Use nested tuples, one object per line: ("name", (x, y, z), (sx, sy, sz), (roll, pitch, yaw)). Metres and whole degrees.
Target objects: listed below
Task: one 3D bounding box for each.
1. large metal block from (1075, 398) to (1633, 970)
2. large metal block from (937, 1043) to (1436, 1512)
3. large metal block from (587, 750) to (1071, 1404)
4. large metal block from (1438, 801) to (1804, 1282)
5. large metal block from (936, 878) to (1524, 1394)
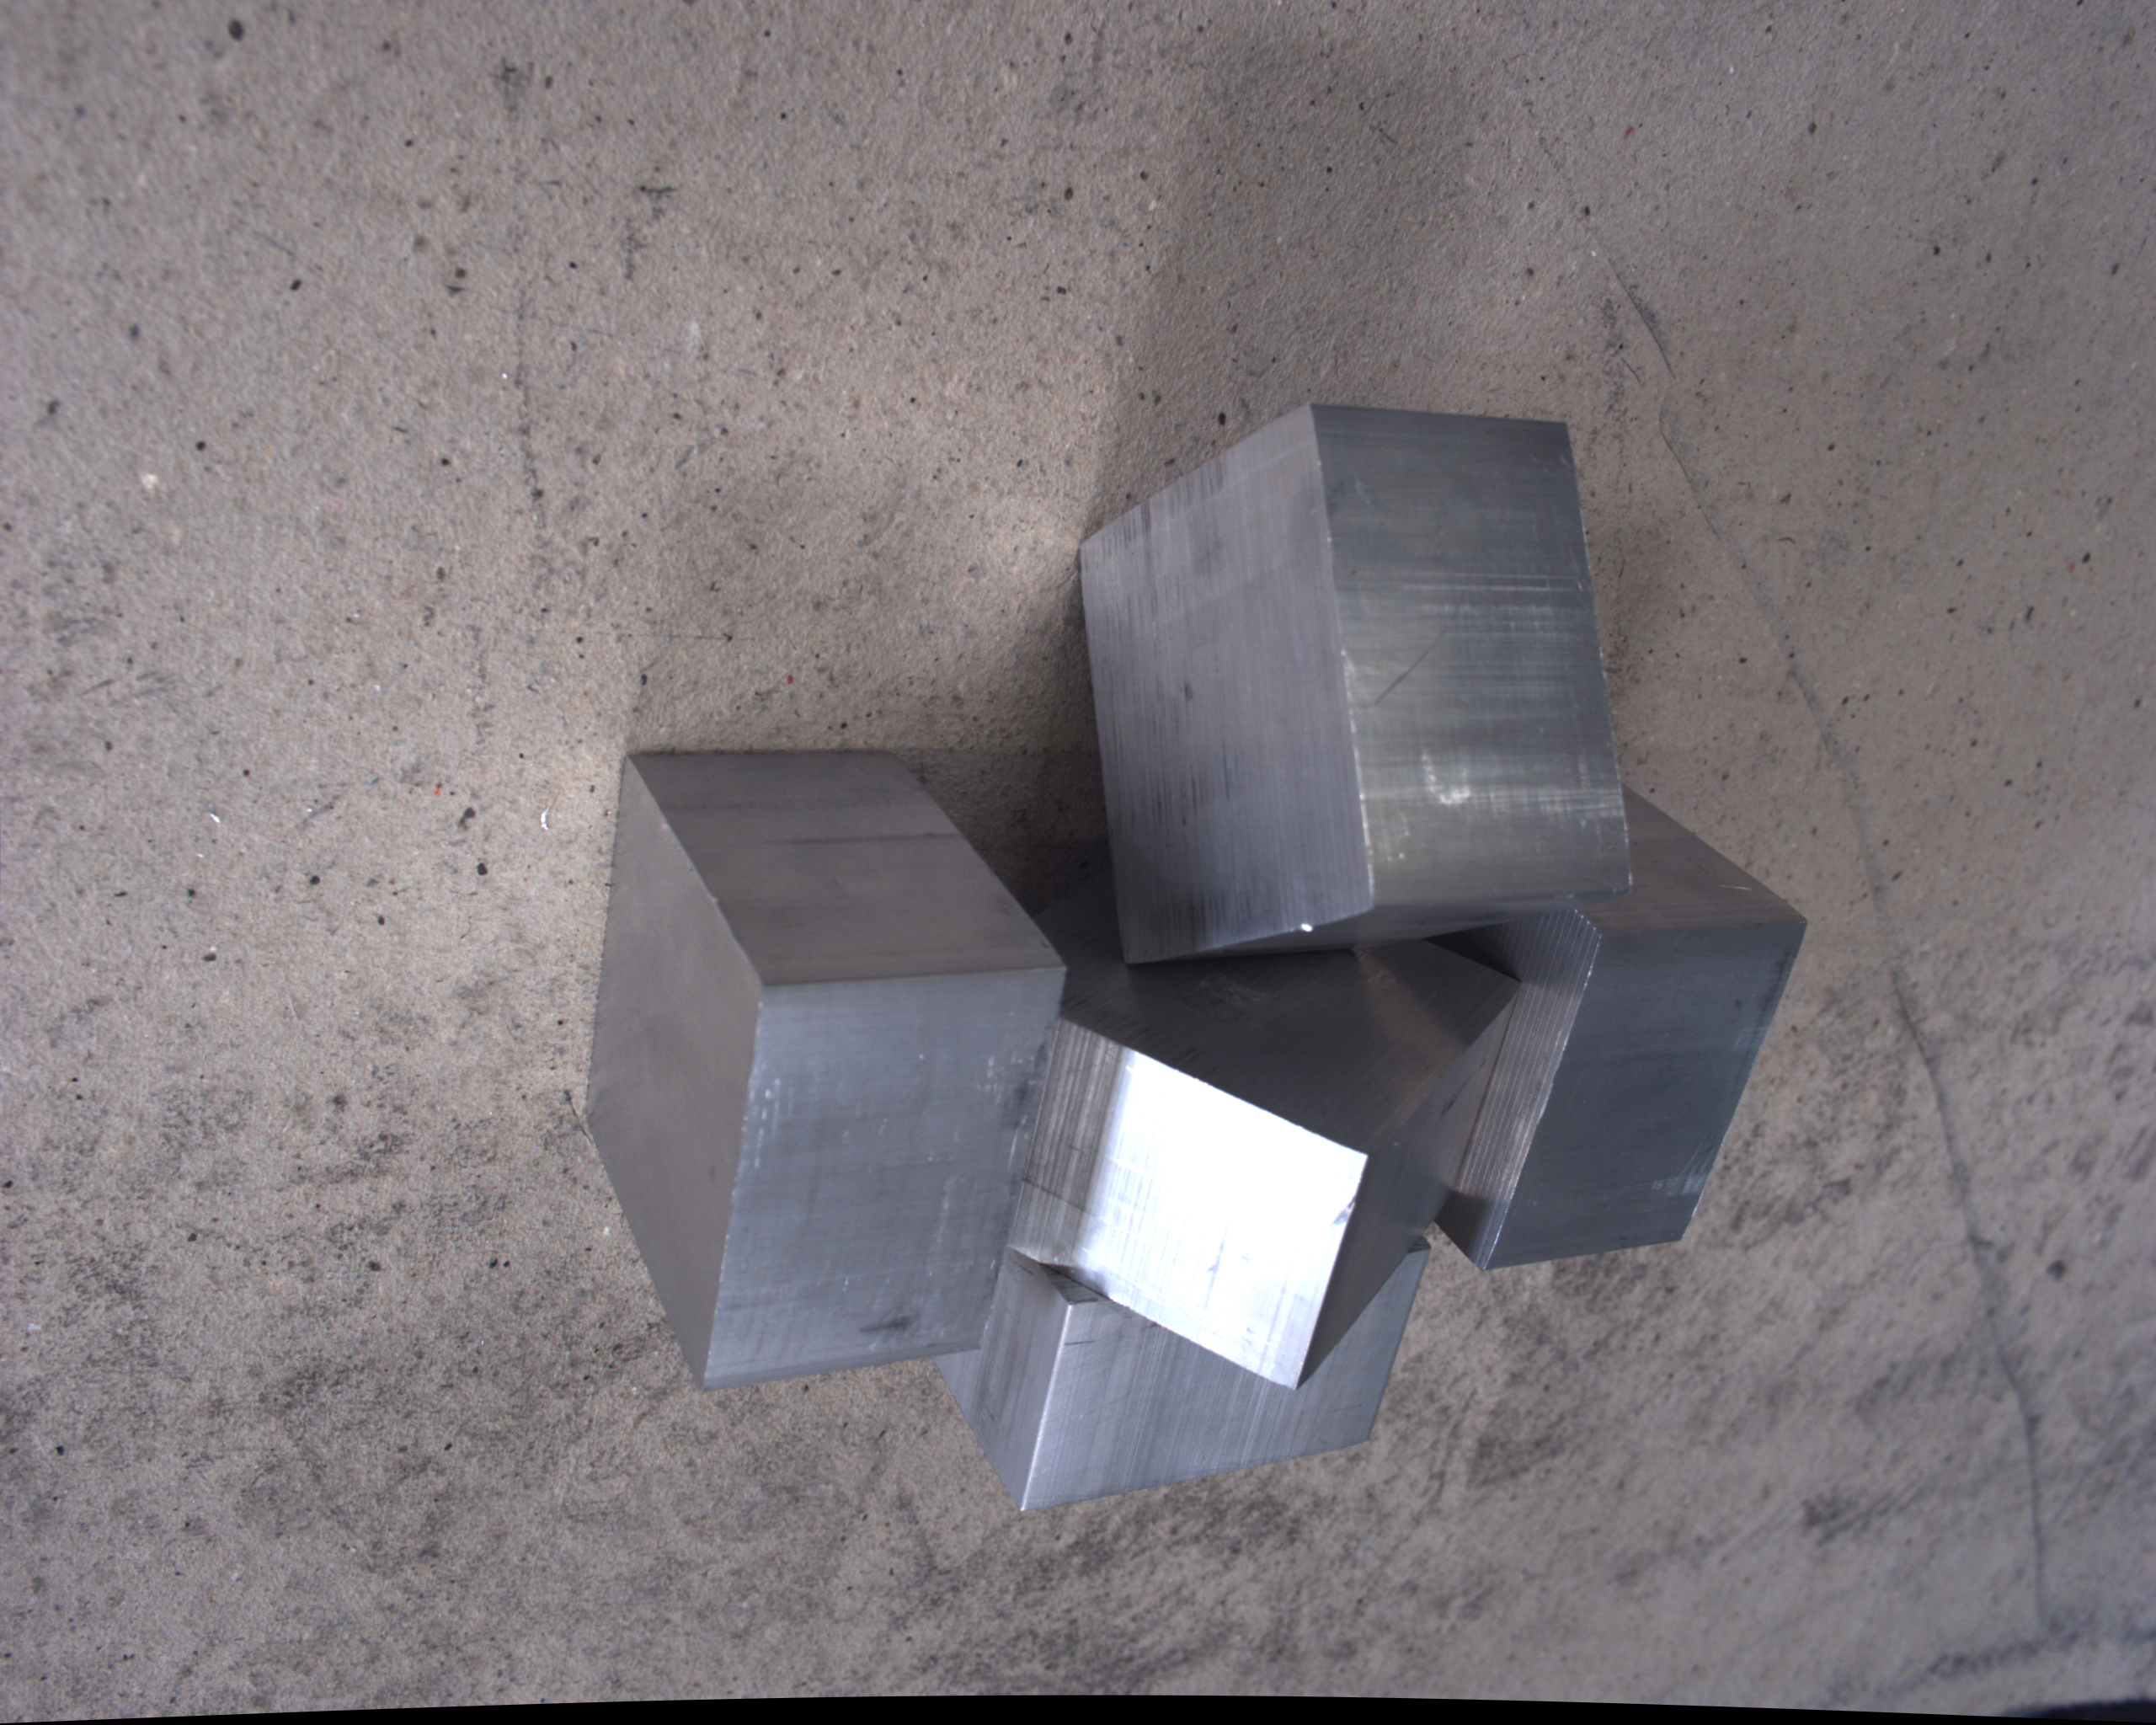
("large metal block", (0.044, -0.027, 0.361), (0.050, 0.080, 0.080), (-3, 82, -27))
("large metal block", (0.012, 0.079, 0.429), (0.081, 0.080, 0.050), (-3, 120, -27))
("large metal block", (-0.048, 0.034, 0.366), (0.050, 0.080, 0.079), (-2, 119, -28))
("large metal block", (0.094, 0.029, 0.442), (0.050, 0.080, 0.079), (-3, 119, -28))
("large metal block", (0.028, 0.043, 0.396), (0.080, 0.080, 0.050), (-32, 139, -55))
